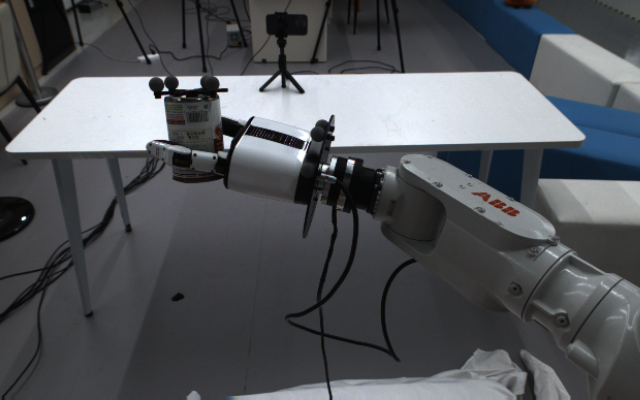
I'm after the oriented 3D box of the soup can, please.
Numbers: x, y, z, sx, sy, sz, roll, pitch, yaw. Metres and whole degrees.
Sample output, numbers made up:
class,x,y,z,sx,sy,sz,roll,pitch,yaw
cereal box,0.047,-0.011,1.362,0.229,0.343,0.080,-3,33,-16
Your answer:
class,x,y,z,sx,sy,sz,roll,pitch,yaw
soup can,-0.154,-0.077,0.602,0.067,0.101,0.067,-2,17,0
